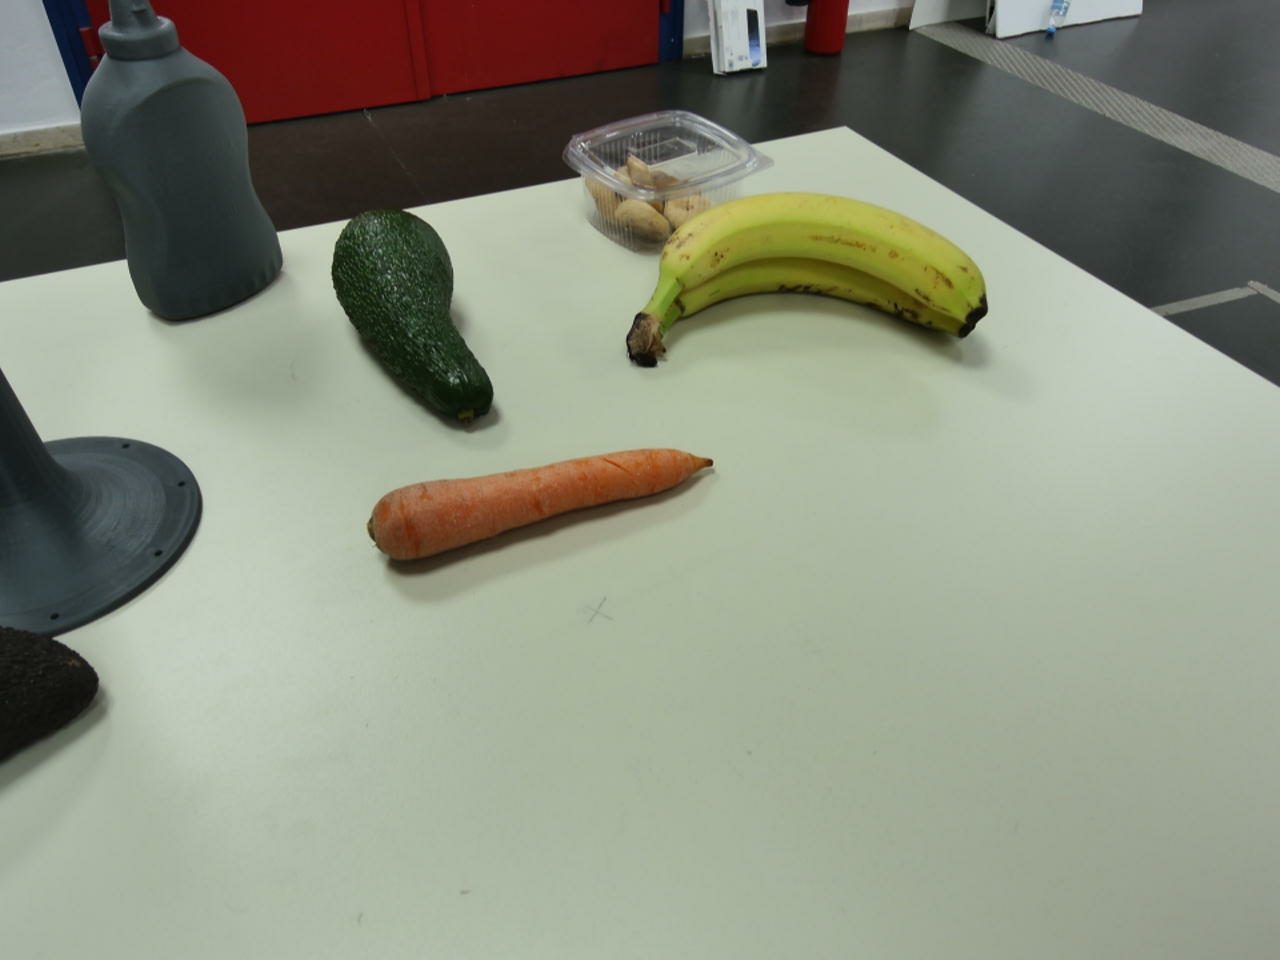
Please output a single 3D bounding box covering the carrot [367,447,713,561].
[{"bbox_3d":[-0.048,0.002,0.541,0.196,0.041,0.039,-16,42,-20],"label":"carrot"}]
